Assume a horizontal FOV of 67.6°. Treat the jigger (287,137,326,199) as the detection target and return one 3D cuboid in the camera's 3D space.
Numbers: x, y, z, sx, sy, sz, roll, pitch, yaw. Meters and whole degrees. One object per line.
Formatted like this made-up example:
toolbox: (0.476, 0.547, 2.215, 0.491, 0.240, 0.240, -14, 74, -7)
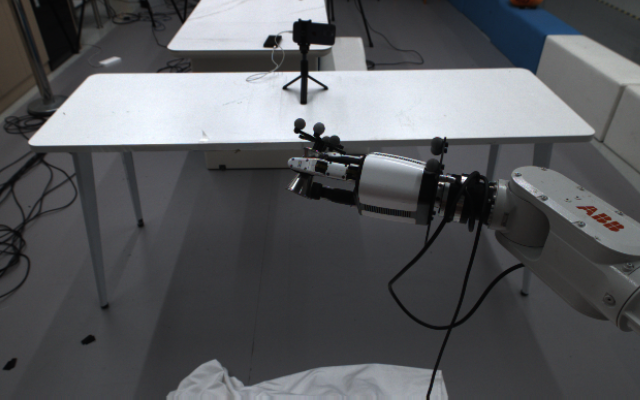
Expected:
jigger: (-0.021, -0.042, 0.717, 0.043, 0.071, 0.043, 24, -3, 1)
